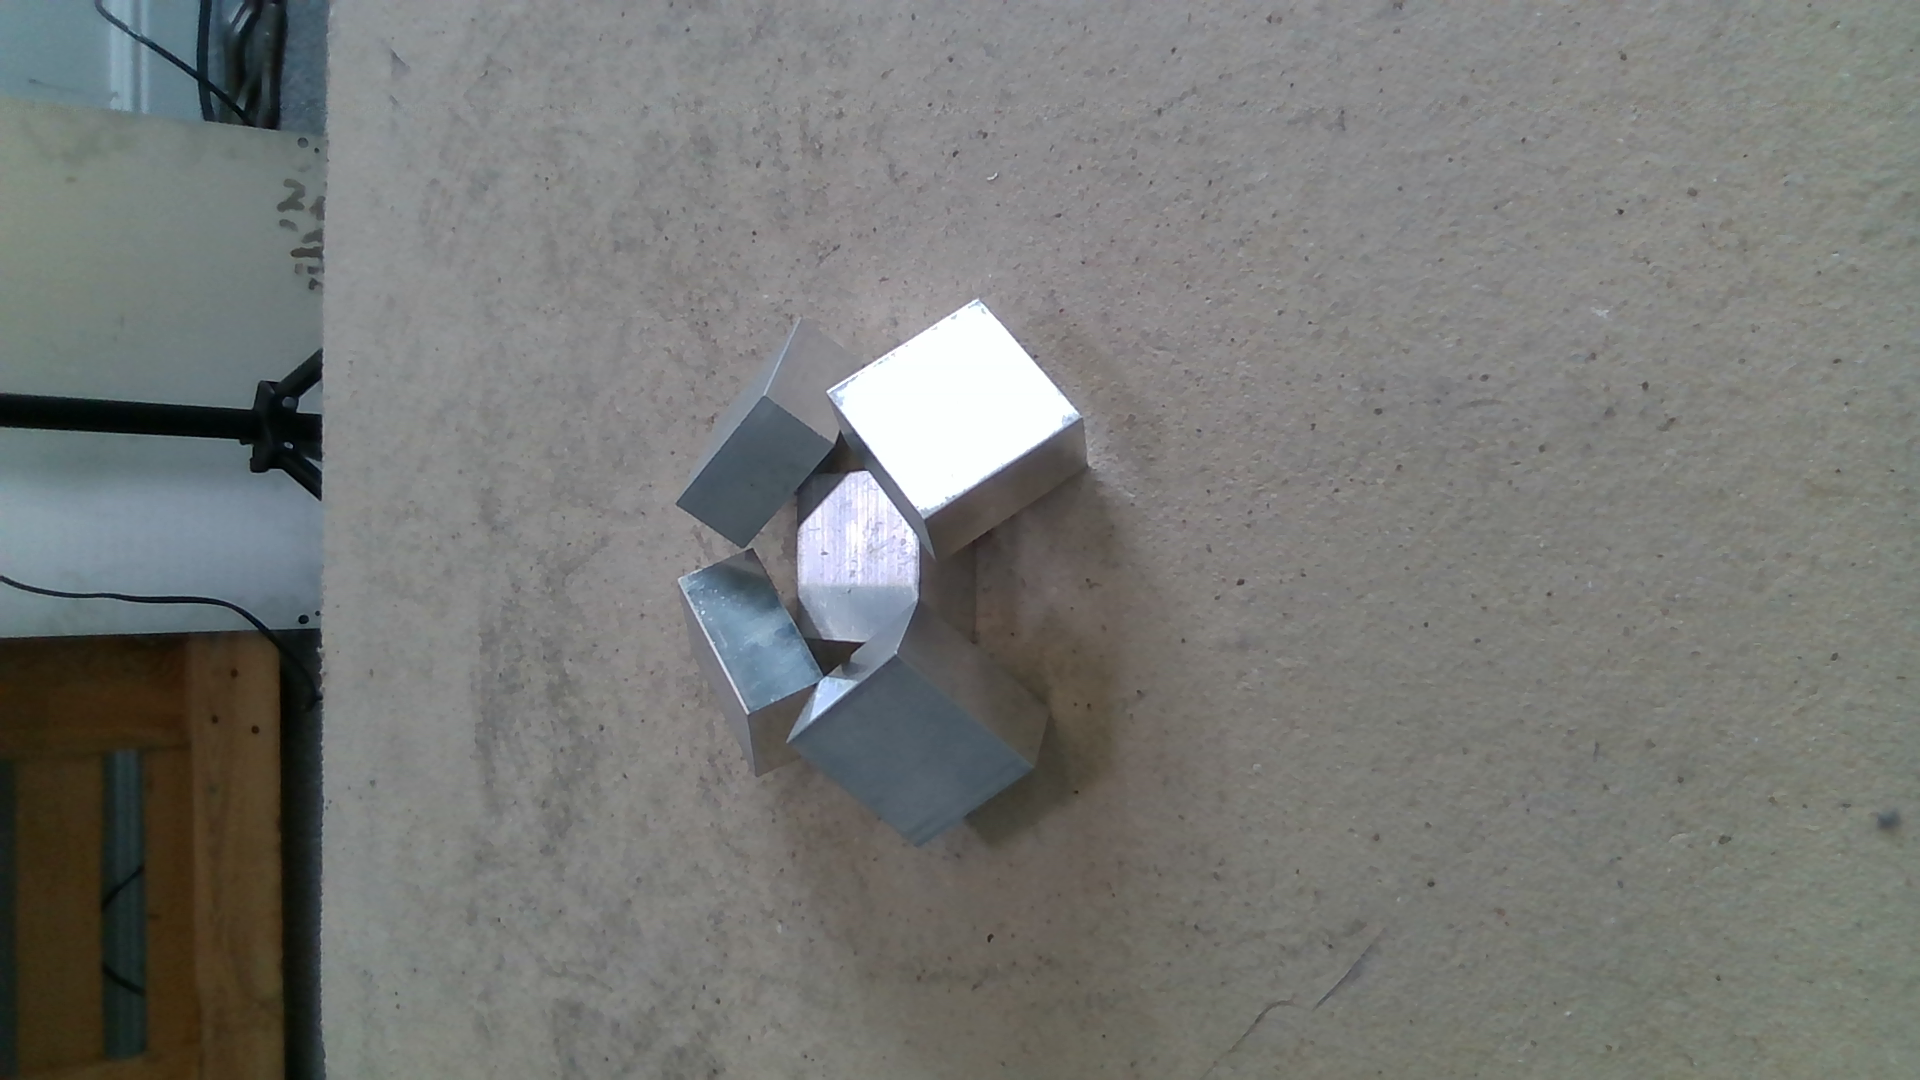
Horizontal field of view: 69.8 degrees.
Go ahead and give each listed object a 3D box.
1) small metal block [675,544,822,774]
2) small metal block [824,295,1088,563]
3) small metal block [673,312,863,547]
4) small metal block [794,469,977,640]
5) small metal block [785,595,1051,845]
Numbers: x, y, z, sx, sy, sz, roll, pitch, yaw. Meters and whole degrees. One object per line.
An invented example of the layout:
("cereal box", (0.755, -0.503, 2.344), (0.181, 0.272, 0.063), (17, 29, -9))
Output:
("small metal block", (-0.064, 0.038, 0.429), (0.050, 0.025, 0.050), (57, 161, 24))
("small metal block", (-0.001, -0.031, 0.375), (0.050, 0.025, 0.050), (-33, 63, -9))
("small metal block", (-0.058, -0.034, 0.422), (0.050, 0.025, 0.050), (-45, 20, 31))
("small metal block", (-0.023, 0.004, 0.410), (0.050, 0.025, 0.050), (0, 91, 40))
("small metal block", (-0.011, 0.051, 0.385), (0.050, 0.025, 0.050), (40, 125, -14))
